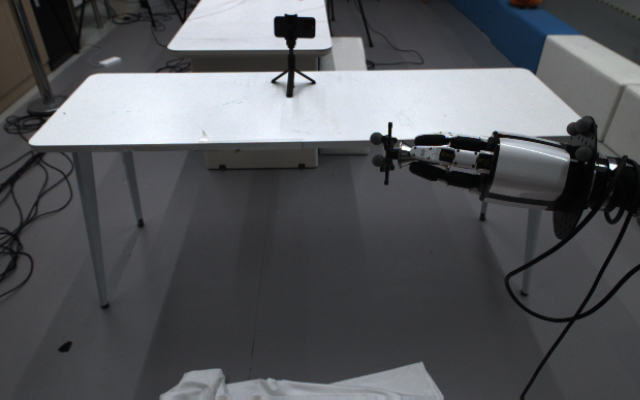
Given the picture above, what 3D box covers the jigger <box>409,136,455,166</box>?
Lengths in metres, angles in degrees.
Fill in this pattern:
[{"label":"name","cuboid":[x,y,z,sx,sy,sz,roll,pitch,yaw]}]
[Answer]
[{"label":"jigger","cuboid":[0.153,-0.066,0.675,0.071,0.043,0.043,4,34,19]}]
